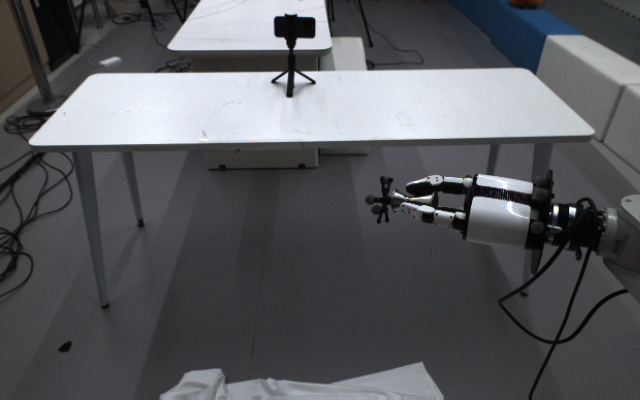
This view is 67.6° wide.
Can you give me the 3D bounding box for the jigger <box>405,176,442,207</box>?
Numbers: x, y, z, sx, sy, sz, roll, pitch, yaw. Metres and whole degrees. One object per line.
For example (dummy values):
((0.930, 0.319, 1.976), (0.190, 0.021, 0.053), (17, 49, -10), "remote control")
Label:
((0.161, -0.003, 0.791), (0.071, 0.043, 0.043), (4, 32, 27), "jigger")
